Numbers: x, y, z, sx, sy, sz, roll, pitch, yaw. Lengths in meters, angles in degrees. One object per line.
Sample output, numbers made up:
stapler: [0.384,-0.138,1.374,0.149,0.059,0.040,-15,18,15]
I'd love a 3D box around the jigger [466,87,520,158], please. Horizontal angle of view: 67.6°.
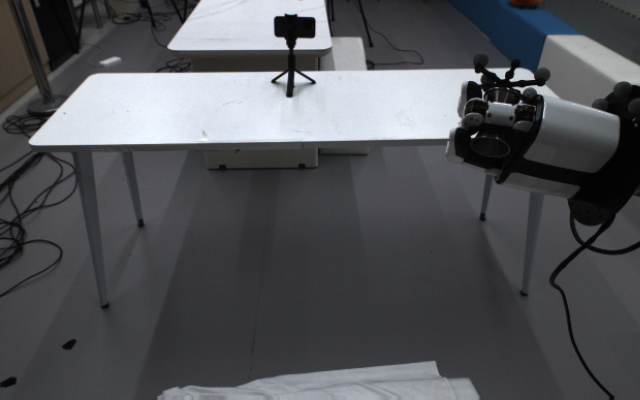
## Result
jigger: [0.202,-0.088,0.553,0.043,0.043,0.071,13,72,15]
